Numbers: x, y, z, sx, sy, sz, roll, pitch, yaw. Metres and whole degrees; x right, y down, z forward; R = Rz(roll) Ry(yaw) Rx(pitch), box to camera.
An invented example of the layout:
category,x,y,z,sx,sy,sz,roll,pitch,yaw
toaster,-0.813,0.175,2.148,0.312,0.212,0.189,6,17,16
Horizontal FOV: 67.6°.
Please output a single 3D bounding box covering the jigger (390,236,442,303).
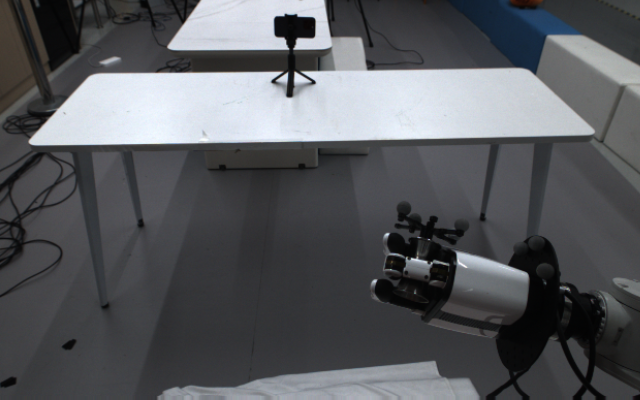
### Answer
category,x,y,z,sx,sy,sz,roll,pitch,yaw
jigger,0.118,0.081,0.575,0.043,0.043,0.071,13,72,15
